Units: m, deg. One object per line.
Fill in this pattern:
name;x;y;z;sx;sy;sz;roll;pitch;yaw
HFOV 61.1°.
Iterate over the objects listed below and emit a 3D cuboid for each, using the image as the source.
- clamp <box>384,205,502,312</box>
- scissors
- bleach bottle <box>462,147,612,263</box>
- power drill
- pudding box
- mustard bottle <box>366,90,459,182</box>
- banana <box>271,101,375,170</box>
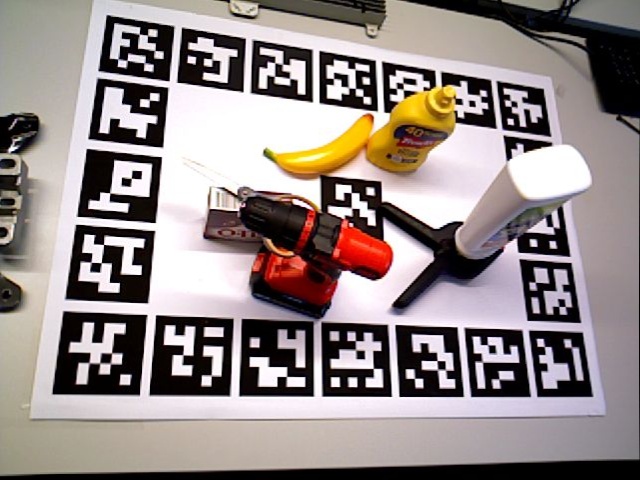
clamp;0.199;0.020;0.803;0.200;0.037;0.164;-1;75;-17
scissors;-0.092;-0.060;0.667;0.202;0.016;0.086;31;71;-9
bleach bottle;0.260;-0.028;0.719;0.101;0.255;0.067;-15;71;-13
power drill;-0.023;0.028;0.642;0.183;0.191;0.056;17;60;-6
pudding box;-0.100;-0.030;0.726;0.113;0.092;0.038;9;62;-13
mustard bottle;0.144;-0.153;0.782;0.095;0.195;0.057;19;66;-10
banana;0.023;-0.154;0.822;0.194;0.039;0.074;-36;67;-22
